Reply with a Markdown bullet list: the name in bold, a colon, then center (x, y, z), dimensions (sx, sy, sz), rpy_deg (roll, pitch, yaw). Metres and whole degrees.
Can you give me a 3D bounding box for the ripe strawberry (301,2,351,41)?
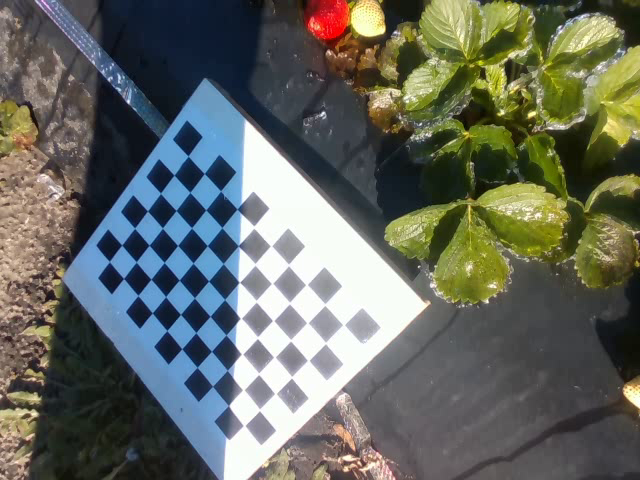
- **ripe strawberry**: center (0.002, -0.173, 0.481), dimensions (0.040, 0.042, 0.053), rpy_deg (9, 34, 18)
